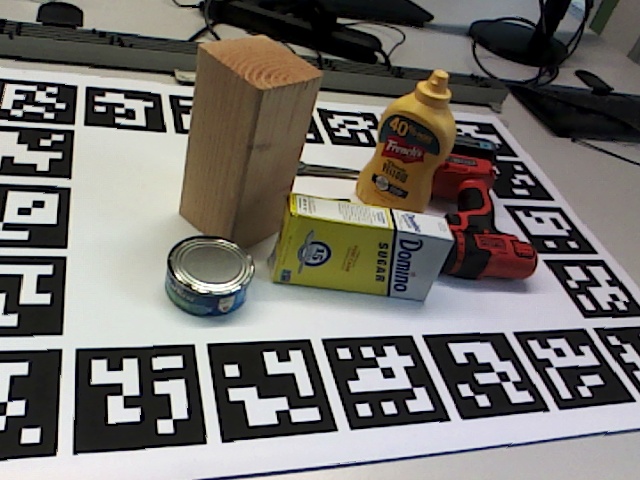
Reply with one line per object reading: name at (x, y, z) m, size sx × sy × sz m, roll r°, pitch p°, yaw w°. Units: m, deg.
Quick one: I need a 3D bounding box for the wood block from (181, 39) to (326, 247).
wood block at (-0.079, -0.095, 0.663) m, size 0.090 × 0.206 × 0.090 m, roll -25°, pitch 57°, yaw -39°

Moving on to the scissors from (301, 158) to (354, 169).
scissors at (-0.048, -0.103, 0.813) m, size 0.202 × 0.016 × 0.088 m, roll 2°, pitch 39°, yaw -18°

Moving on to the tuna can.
tuna can at (-0.110, 0.032, 0.623) m, size 0.085 × 0.034 × 0.086 m, roll 11°, pitch 42°, yaw -10°

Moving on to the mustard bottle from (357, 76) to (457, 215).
mustard bottle at (0.116, -0.115, 0.767) m, size 0.096 × 0.191 × 0.058 m, roll 35°, pitch 44°, yaw 17°

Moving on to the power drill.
power drill at (0.158, -0.037, 0.785) m, size 0.184 × 0.057 × 0.187 m, roll 10°, pitch 48°, yaw -10°

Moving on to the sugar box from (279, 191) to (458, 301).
sugar box at (0.050, 0.010, 0.668) m, size 0.176 × 0.093 × 0.045 m, roll 10°, pitch 38°, yaw -12°
